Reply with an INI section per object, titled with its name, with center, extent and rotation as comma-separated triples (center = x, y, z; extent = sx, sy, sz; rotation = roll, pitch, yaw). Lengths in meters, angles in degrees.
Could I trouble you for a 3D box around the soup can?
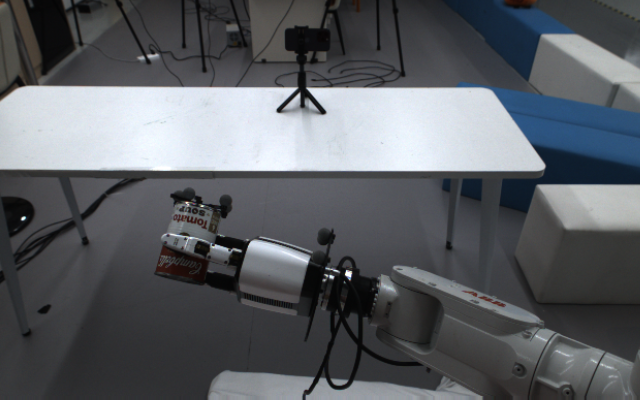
[soup can]
center = -0.179, 0.062, 0.664
extent = 0.067, 0.067, 0.101
rotation = 8, 74, 9
